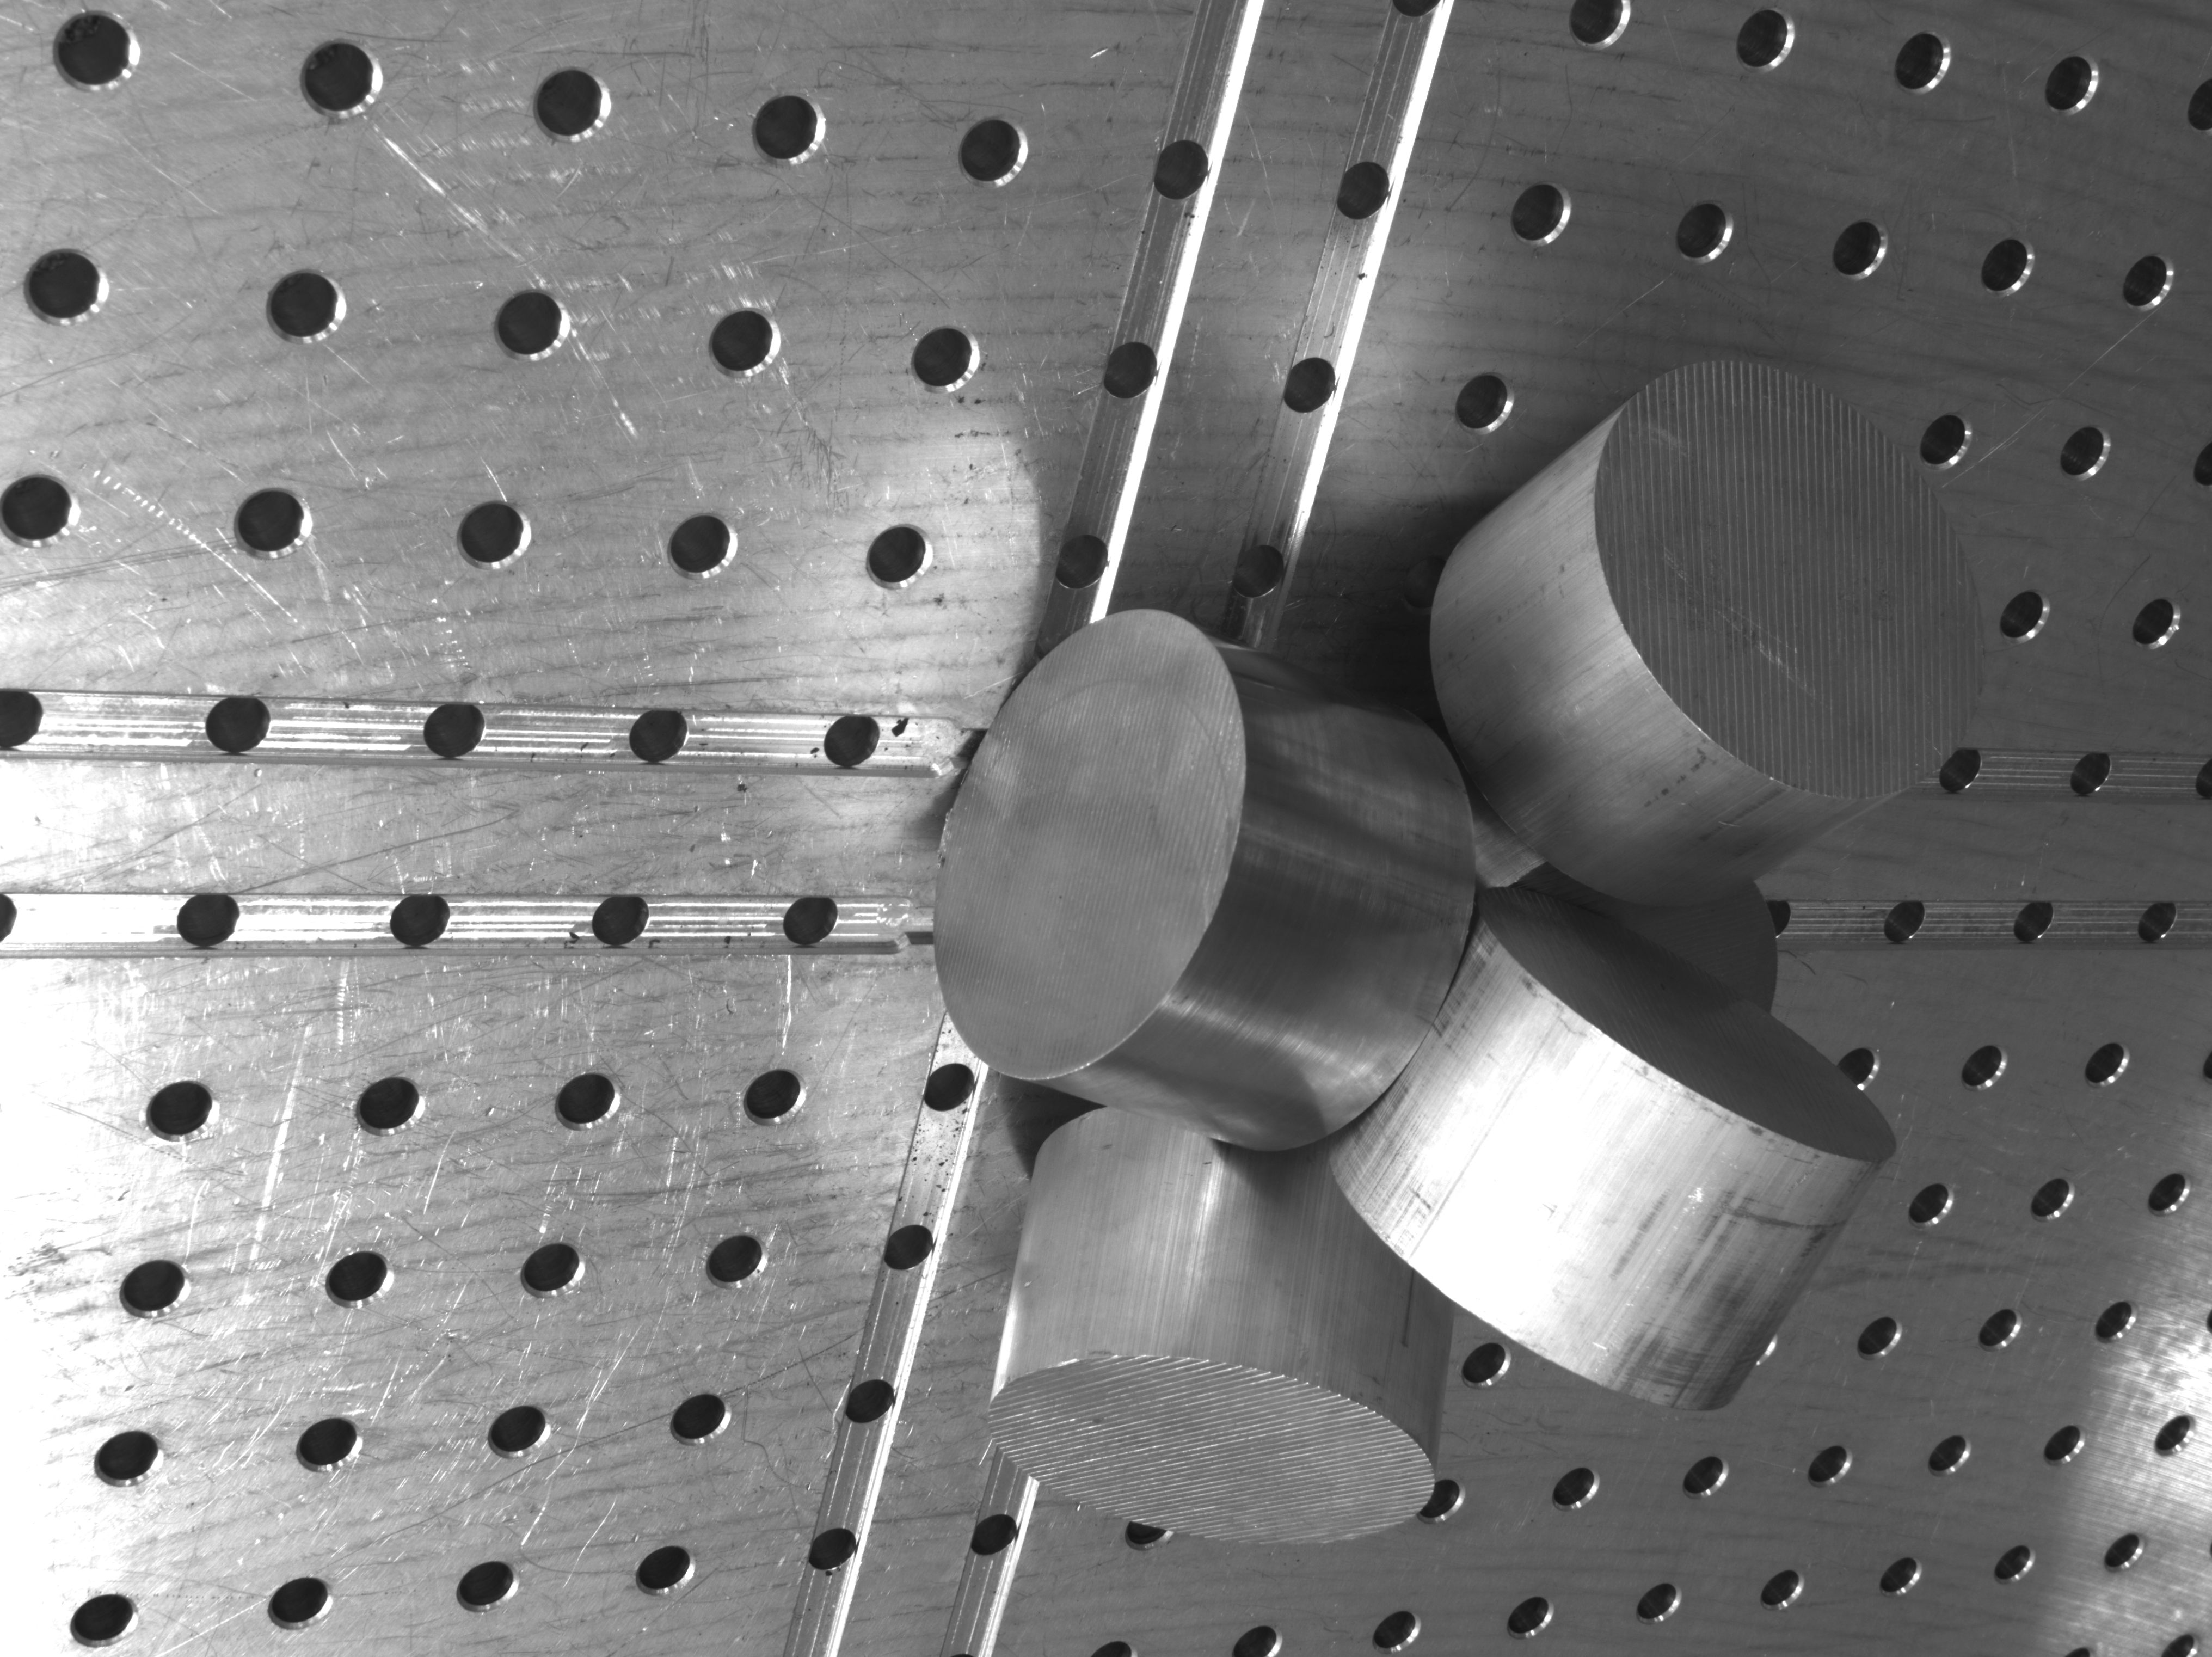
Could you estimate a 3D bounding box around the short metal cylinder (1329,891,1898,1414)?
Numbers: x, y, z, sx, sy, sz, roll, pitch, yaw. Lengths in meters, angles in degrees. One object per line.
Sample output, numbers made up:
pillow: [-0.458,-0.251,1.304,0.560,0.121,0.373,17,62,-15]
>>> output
short metal cylinder: [0.084,0.053,0.618,0.080,0.080,0.050,19,108,-35]

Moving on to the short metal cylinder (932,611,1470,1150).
short metal cylinder: [0.015,0.009,0.619,0.050,0.080,0.080,20,107,-35]

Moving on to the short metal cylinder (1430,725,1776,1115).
short metal cylinder: [0.076,0.026,0.679,0.080,0.050,0.080,-13,122,-21]

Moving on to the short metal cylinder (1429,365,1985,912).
short metal cylinder: [0.103,-0.032,0.632,0.080,0.080,0.050,2,157,-29]

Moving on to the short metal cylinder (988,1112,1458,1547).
short metal cylinder: [0.023,0.090,0.664,0.080,0.050,0.080,8,148,5]
